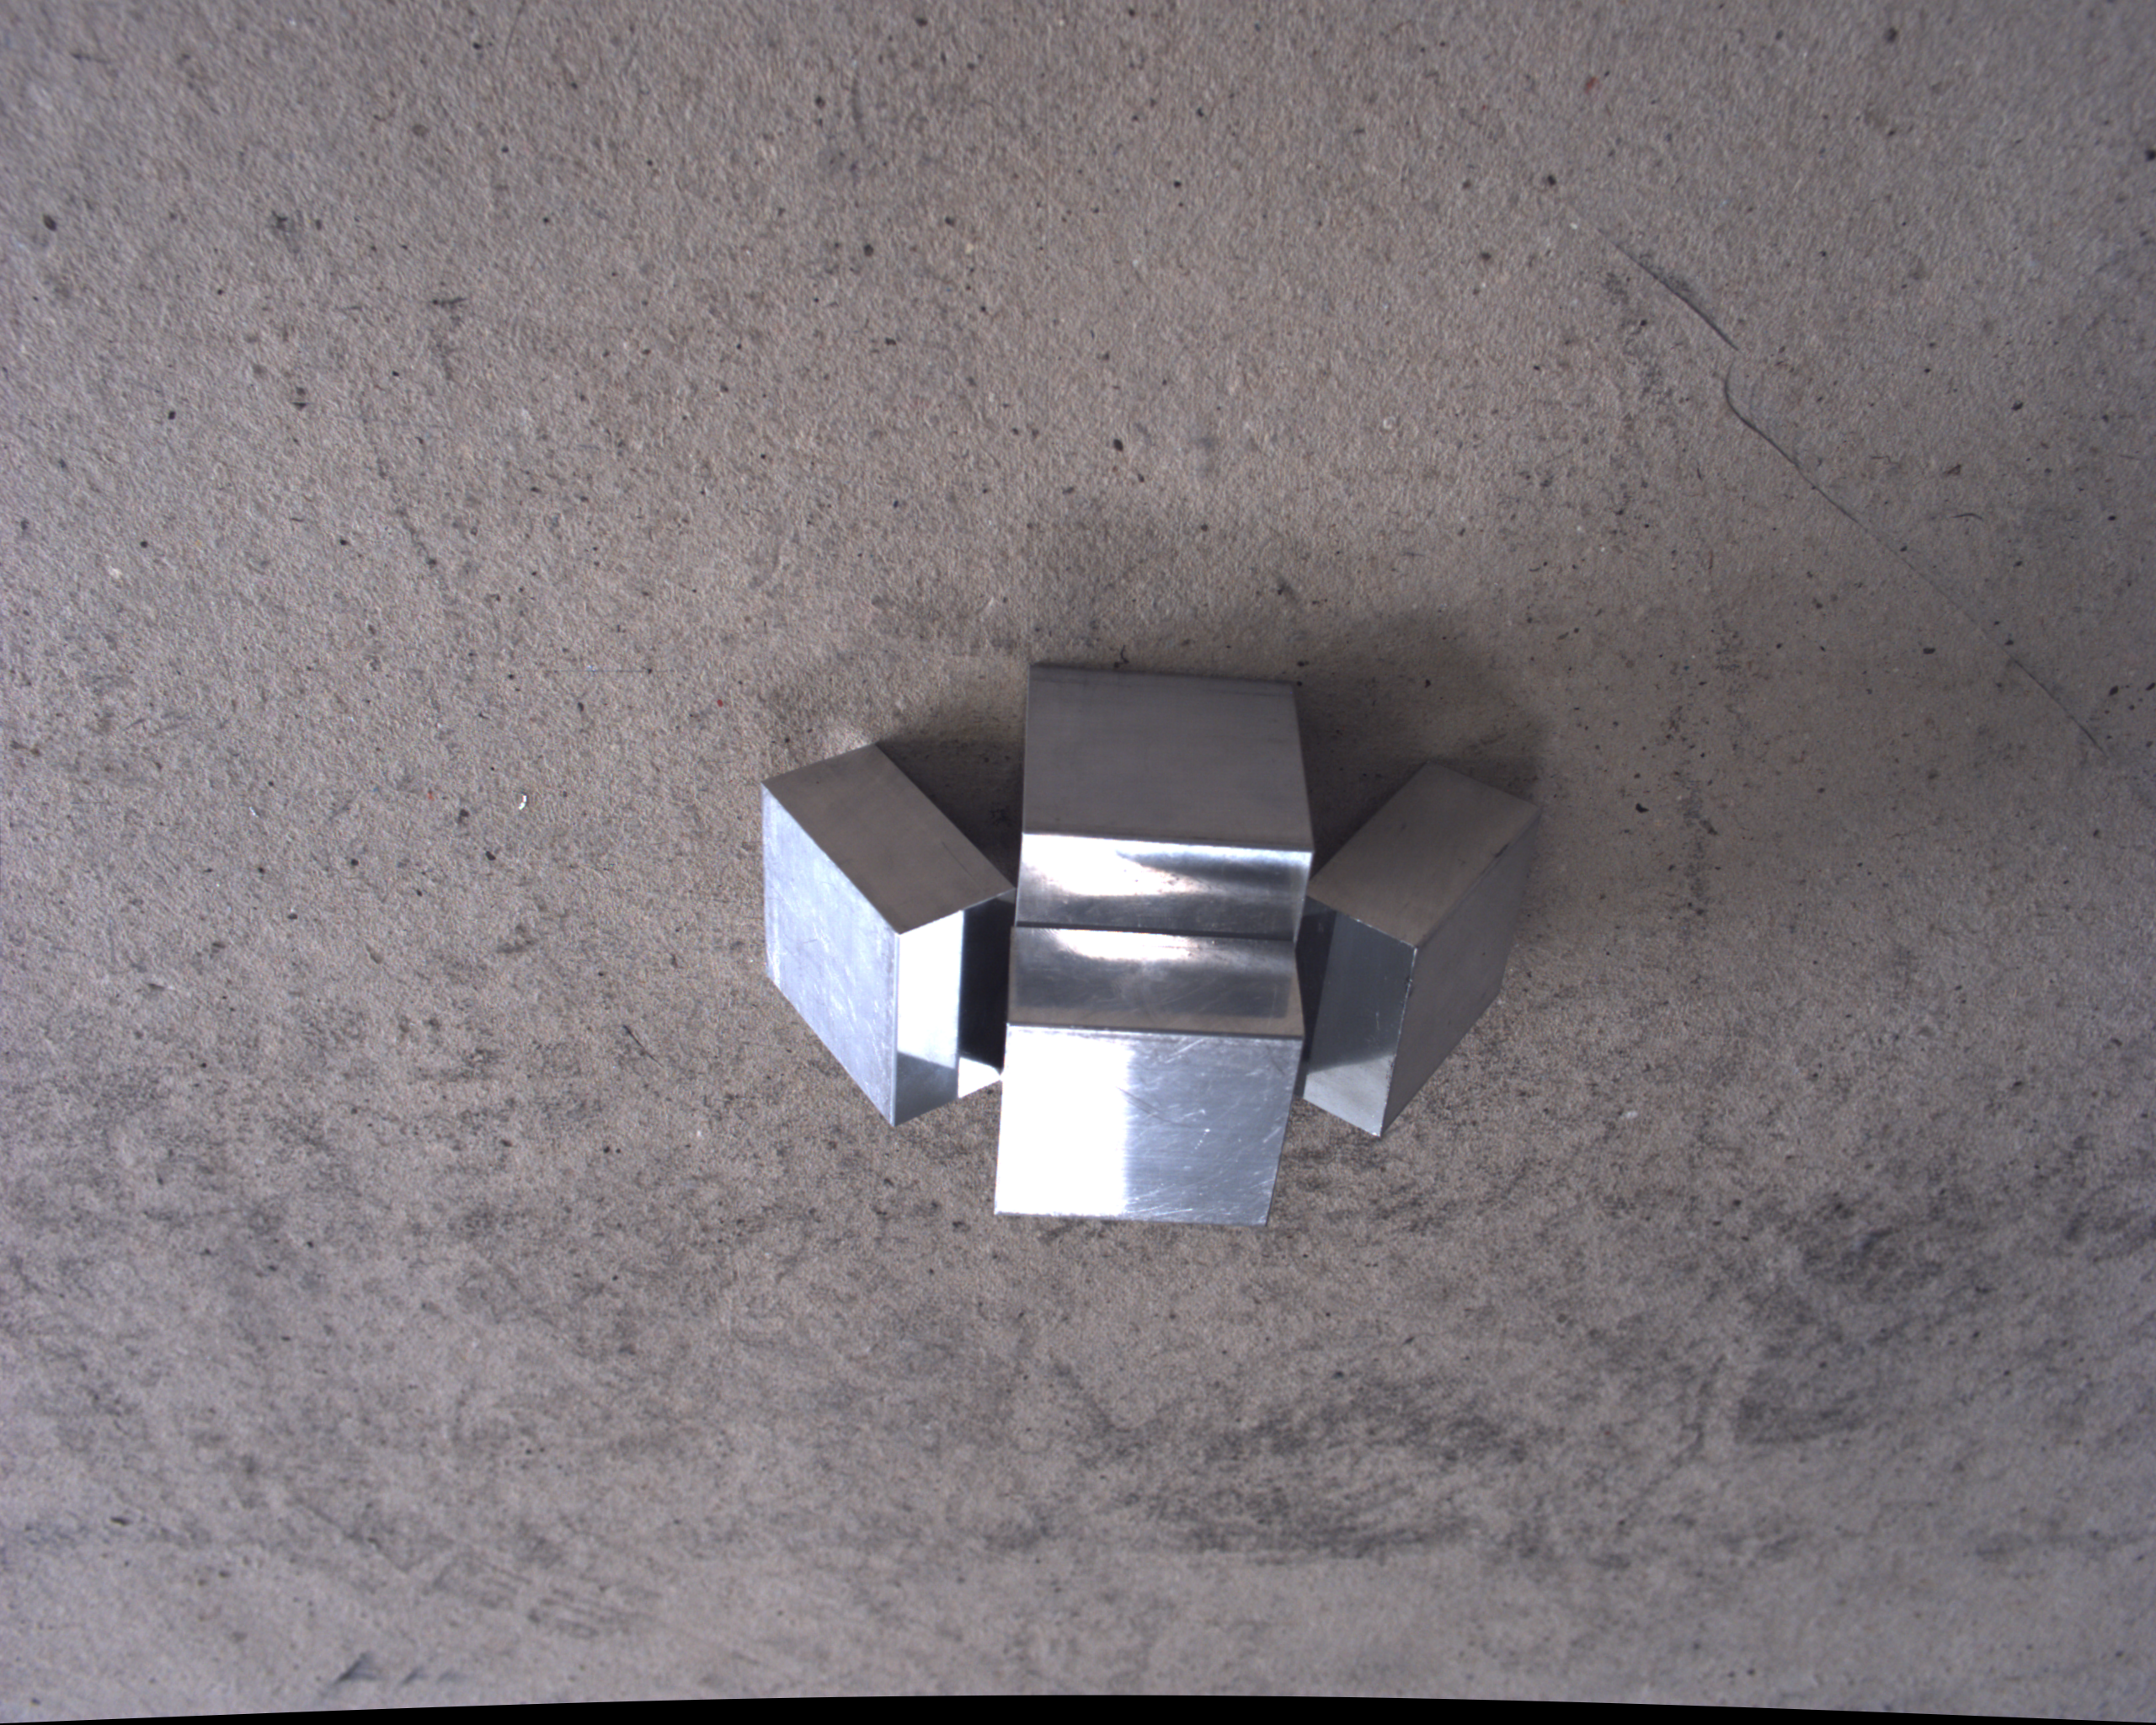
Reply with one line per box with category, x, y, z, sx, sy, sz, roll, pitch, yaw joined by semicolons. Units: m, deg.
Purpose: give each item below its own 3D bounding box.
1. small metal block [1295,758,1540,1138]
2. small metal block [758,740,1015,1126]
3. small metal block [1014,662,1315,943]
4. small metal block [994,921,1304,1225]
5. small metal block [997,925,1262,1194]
small metal block;0.063;0.016;0.404;0.025;0.050;0.050;26;136;25
small metal block;-0.038;0.013;0.401;0.025;0.050;0.050;-22;138;-29
small metal block;0.015;-0.011;0.384;0.050;0.050;0.025;4;131;-3
small metal block;0.011;0.039;0.377;0.050;0.025;0.050;3;130;-3
small metal block;0.010;0.040;0.427;0.050;0.050;0.025;2;130;-2
